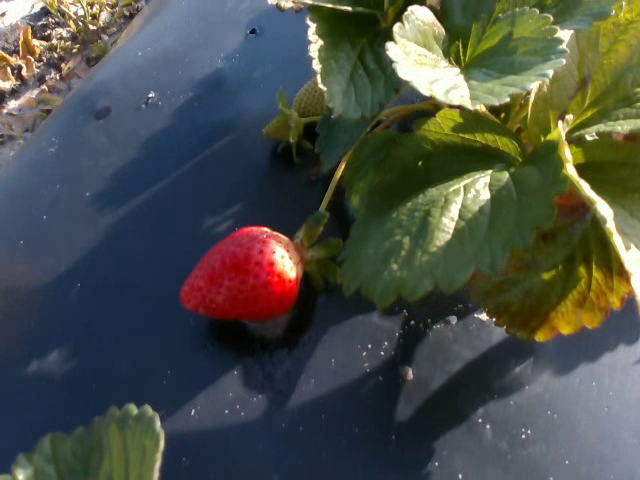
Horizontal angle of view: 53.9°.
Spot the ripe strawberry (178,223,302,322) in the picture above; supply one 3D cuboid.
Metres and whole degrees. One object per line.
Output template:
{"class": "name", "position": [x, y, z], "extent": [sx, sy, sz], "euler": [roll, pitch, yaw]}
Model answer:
{"class": "ripe strawberry", "position": [-0.025, 0.013, 0.184], "extent": [0.044, 0.033, 0.030], "euler": [-20, 12, -8]}
